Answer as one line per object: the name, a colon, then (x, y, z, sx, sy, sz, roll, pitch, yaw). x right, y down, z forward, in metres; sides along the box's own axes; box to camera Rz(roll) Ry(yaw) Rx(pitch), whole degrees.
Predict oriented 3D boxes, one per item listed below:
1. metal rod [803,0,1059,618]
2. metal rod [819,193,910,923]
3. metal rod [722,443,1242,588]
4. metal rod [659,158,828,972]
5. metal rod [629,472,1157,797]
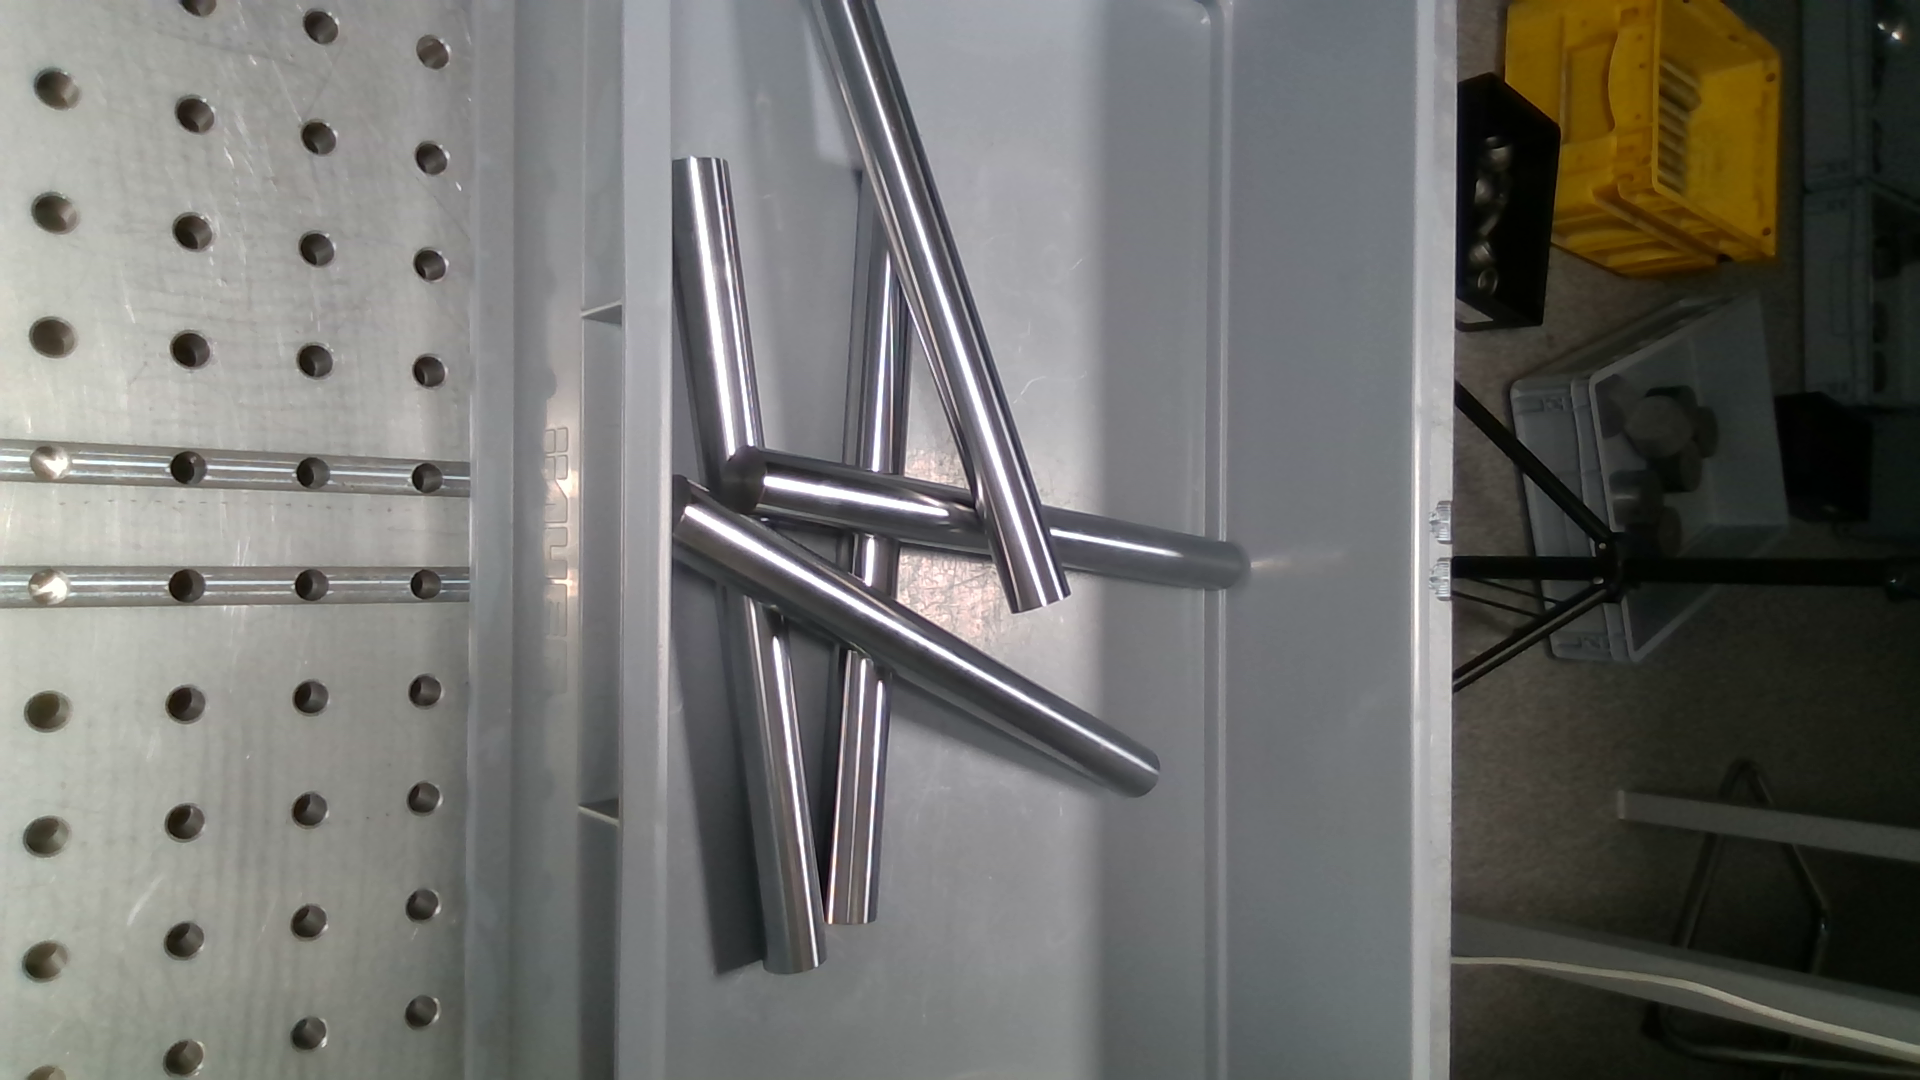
metal rod: (-0.018, -0.115, 0.534, 0.025, 0.025, 0.300, -24, 100, -38)
metal rod: (-0.036, -0.001, 0.551, 0.025, 0.025, 0.300, 6, 86, -40)
metal rod: (0.028, -0.004, 0.583, 0.300, 0.025, 0.025, 9, 84, -46)
metal rod: (-0.080, 0.012, 0.514, 0.025, 0.025, 0.300, -11, 97, -40)
metal rod: (-0.008, 0.050, 0.549, 0.301, 0.025, 0.025, 34, 69, -43)
